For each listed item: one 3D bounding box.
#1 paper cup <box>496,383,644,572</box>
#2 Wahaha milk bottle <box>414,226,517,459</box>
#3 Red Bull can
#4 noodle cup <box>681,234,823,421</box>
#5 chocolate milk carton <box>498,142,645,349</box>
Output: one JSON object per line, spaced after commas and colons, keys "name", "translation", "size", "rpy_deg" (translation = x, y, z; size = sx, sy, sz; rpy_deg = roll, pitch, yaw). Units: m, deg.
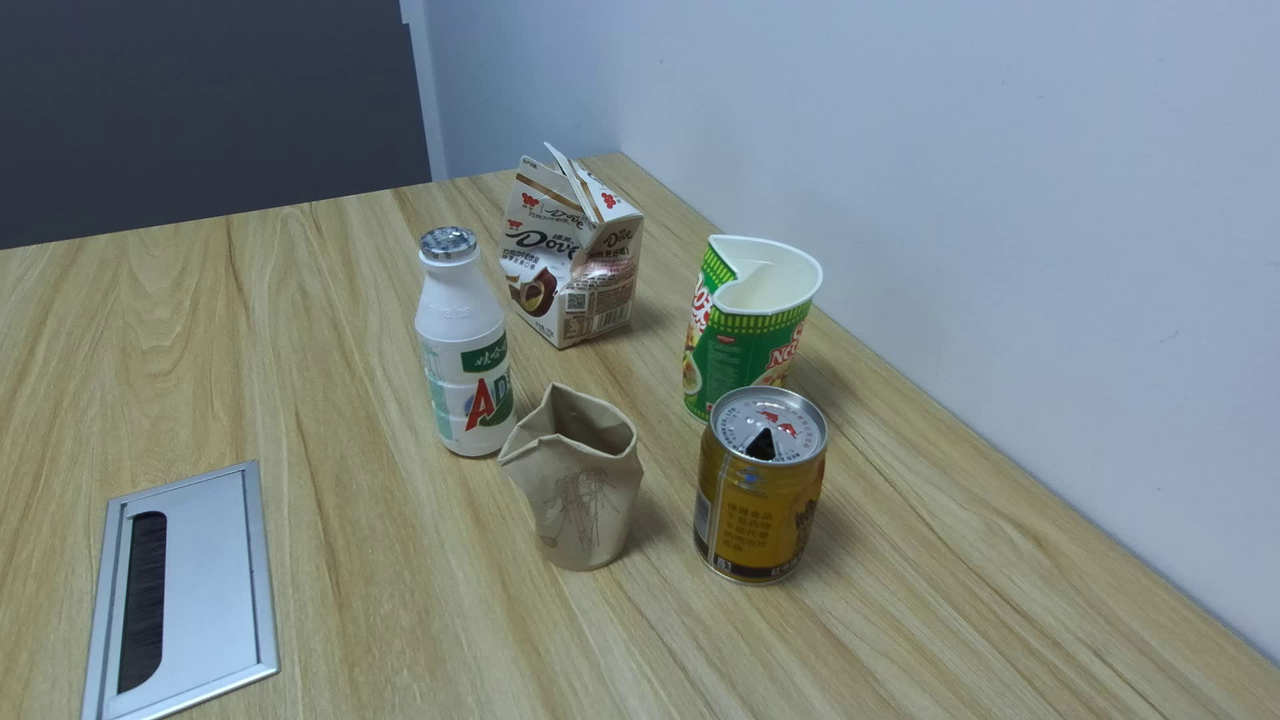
{"name": "paper cup", "translation": [-0.036, 0.069, 0.384], "size": [0.066, 0.083, 0.058], "rpy_deg": [21, 45, 29]}
{"name": "Wahaha milk bottle", "translation": [-0.107, -0.008, 0.433], "size": [0.053, 0.147, 0.053], "rpy_deg": [1, 36, 0]}
{"name": "Red Bull can", "translation": [0.064, 0.067, 0.381], "size": [0.068, 0.093, 0.068], "rpy_deg": [1, 38, 0]}
{"name": "noodle cup", "translation": [0.068, -0.011, 0.470], "size": [0.086, 0.109, 0.094], "rpy_deg": [16, 40, 19]}
{"name": "chocolate milk carton", "translation": [-0.052, -0.085, 0.540], "size": [0.077, 0.155, 0.089], "rpy_deg": [-28, 59, -27]}
